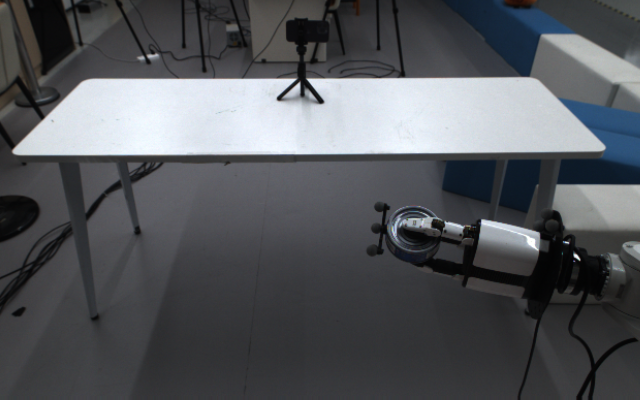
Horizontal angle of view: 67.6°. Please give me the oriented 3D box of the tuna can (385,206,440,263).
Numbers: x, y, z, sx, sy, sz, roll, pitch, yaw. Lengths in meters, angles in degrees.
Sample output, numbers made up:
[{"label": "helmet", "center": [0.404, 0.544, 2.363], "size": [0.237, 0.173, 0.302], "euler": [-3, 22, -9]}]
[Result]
[{"label": "tuna can", "center": [0.147, 0.051, 0.746], "size": [0.085, 0.034, 0.085], "euler": [-2, 57, 3]}]
